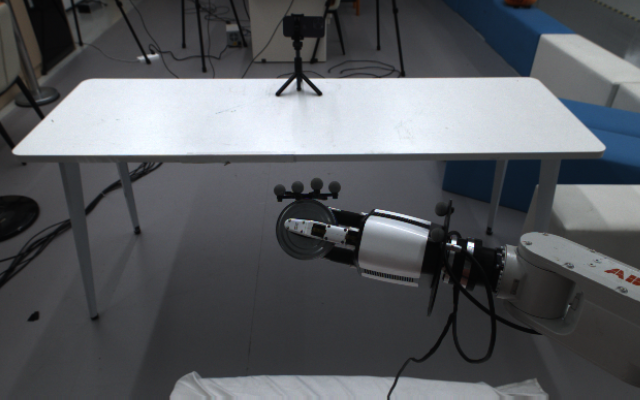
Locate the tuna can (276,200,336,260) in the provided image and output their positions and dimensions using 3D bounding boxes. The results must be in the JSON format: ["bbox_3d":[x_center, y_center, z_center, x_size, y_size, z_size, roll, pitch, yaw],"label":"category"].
[{"bbox_3d":[-0.015,0.046,0.678,0.085,0.085,0.034,10,-6,11],"label":"tuna can"}]
